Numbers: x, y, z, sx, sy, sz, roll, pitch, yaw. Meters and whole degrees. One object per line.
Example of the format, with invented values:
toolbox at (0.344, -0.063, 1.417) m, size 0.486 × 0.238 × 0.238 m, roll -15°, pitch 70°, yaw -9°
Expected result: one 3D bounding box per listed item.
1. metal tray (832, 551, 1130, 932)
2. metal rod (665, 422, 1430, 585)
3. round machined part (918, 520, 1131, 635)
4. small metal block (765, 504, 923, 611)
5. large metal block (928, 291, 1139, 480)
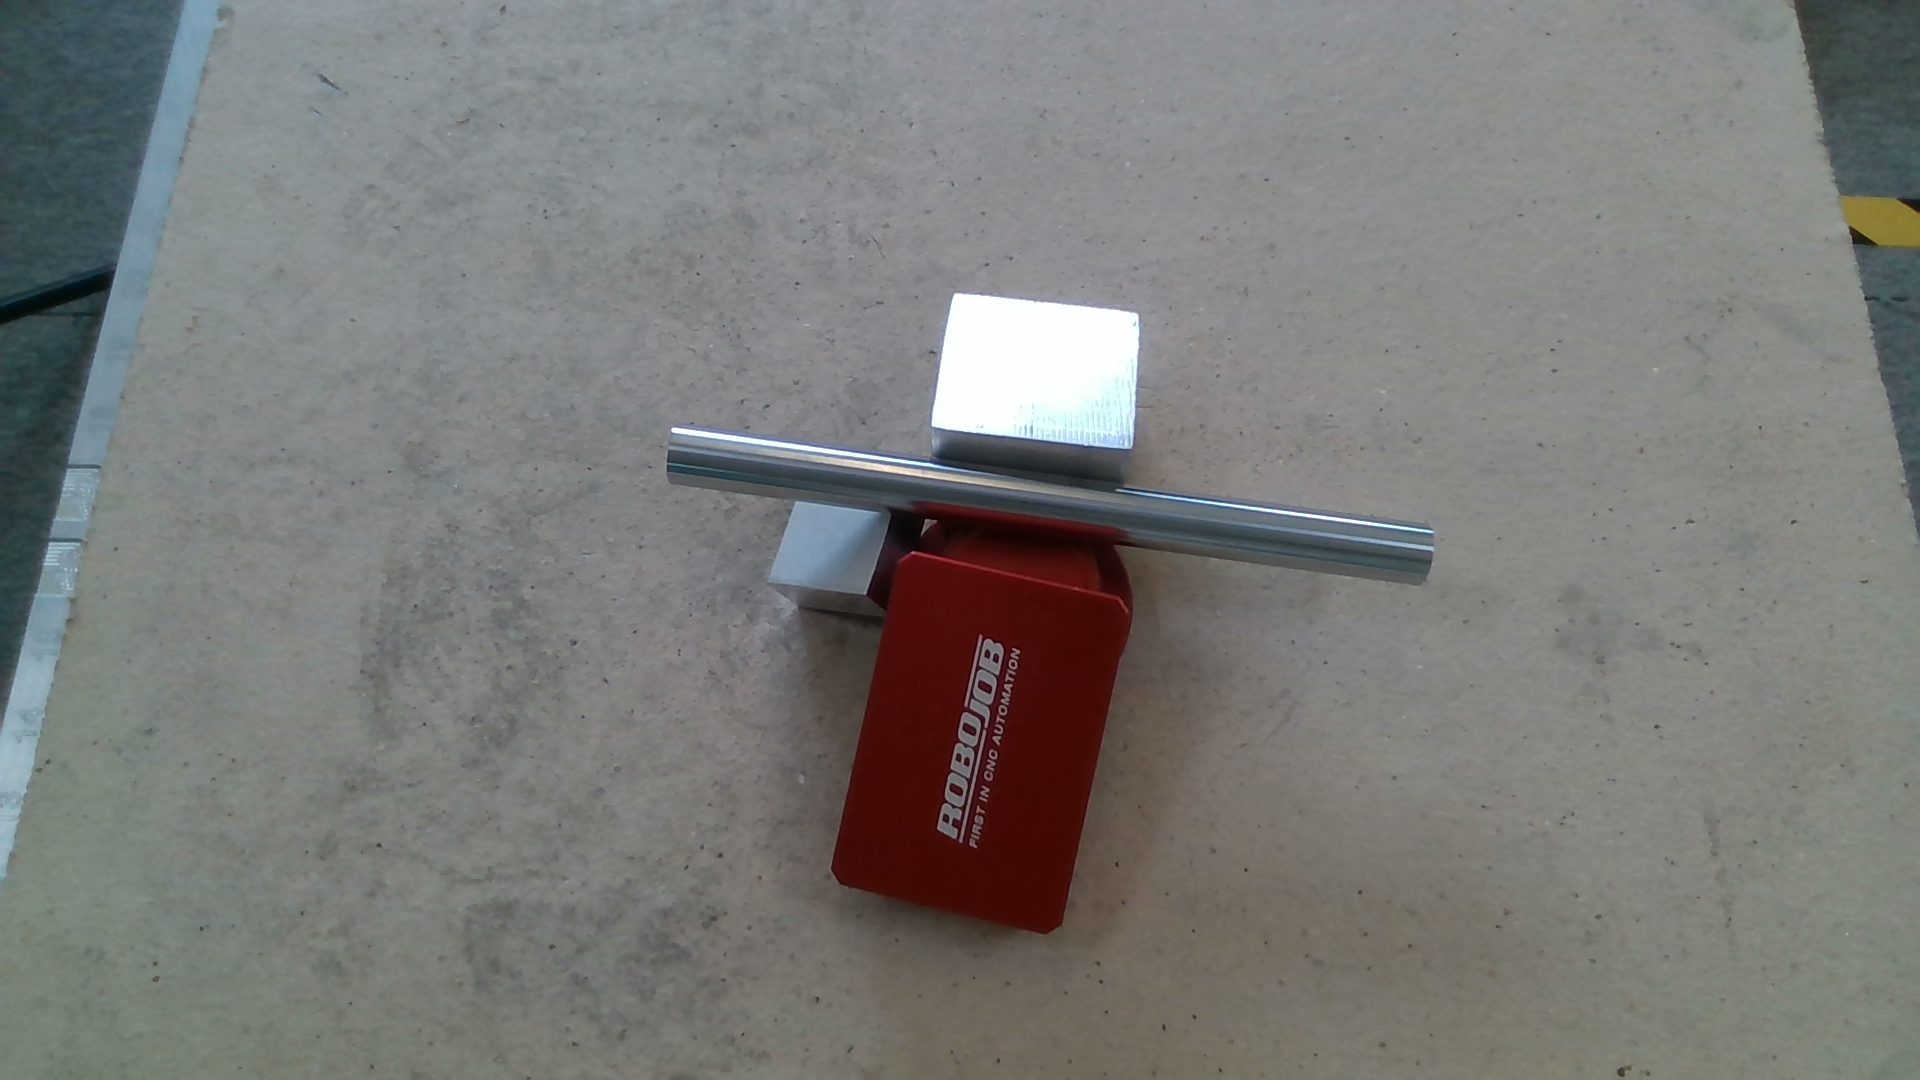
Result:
metal tray at (0.009, 0.076, 0.535) m, size 0.090 × 0.030 × 0.130 m, roll 12°, pitch 91°, yaw 5°
metal rod at (0.034, -0.015, 0.549) m, size 0.300 × 0.025 × 0.025 m, roll 8°, pitch 70°, yaw 1°
round machined part at (0.023, 0.025, 0.570) m, size 0.098 × 0.042 × 0.098 m, roll 0°, pitch 70°, yaw 0°
small metal block at (-0.047, 0.002, 0.577) m, size 0.050 × 0.025 × 0.050 m, roll 5°, pitch 67°, yaw 29°
large metal block at (0.031, -0.056, 0.583) m, size 0.080 × 0.050 × 0.080 m, roll 7°, pitch 52°, yaw 2°
